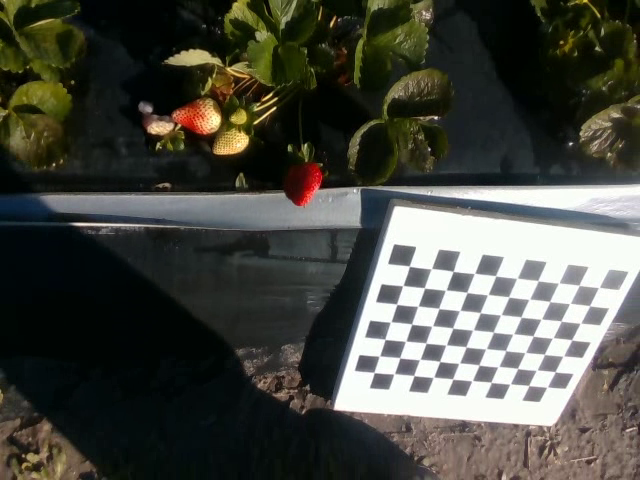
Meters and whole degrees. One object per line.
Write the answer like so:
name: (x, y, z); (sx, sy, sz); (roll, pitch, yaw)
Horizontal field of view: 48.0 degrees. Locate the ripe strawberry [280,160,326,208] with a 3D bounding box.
ripe strawberry: (-0.013, -0.038, 0.552); (0.036, 0.046, 0.038); (7, -45, -9)
